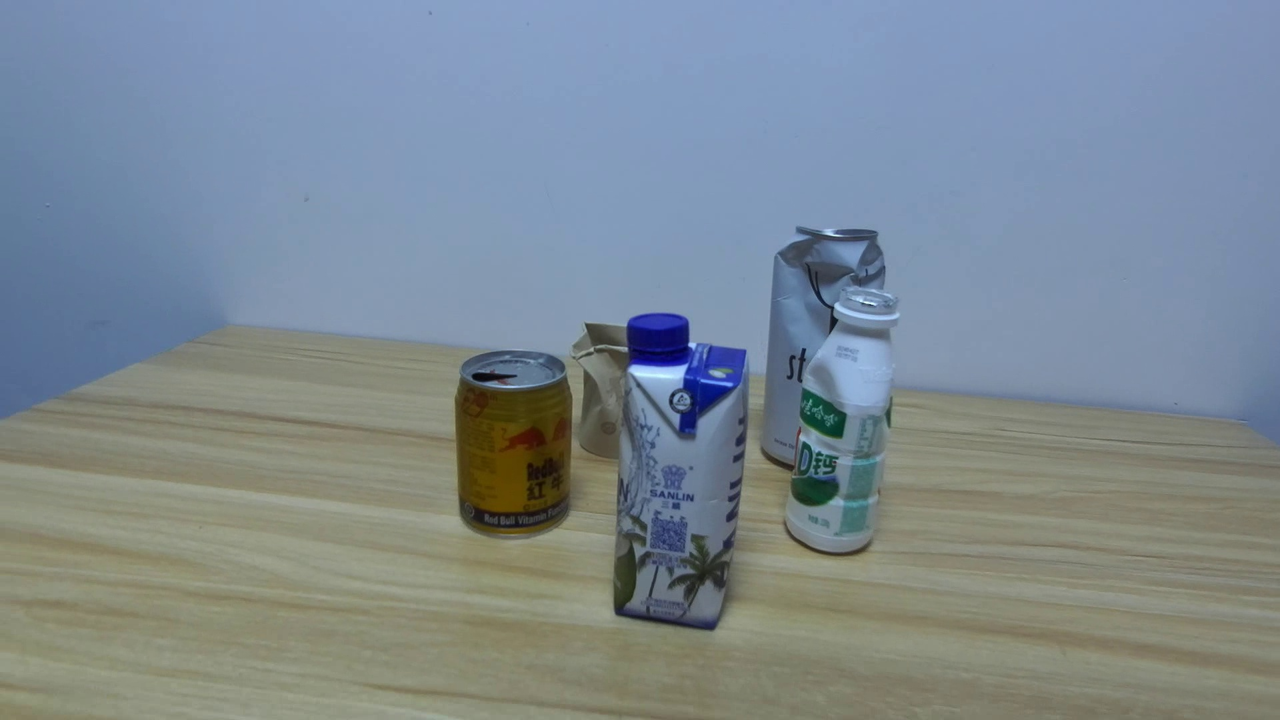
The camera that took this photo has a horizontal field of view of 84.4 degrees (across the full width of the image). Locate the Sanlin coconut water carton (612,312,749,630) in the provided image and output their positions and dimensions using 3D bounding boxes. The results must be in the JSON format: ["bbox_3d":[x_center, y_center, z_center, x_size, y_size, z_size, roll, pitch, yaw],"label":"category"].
[{"bbox_3d":[0.020,0.052,0.342,0.060,0.144,0.060,8,19,8],"label":"Sanlin coconut water carton"}]

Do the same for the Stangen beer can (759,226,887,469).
[{"bbox_3d":[0.125,-0.008,0.487,0.065,0.166,0.066,18,27,35],"label":"Stangen beer can"}]

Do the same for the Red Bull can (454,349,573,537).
[{"bbox_3d":[-0.074,0.048,0.413,0.067,0.093,0.067,4,20,-1],"label":"Red Bull can"}]

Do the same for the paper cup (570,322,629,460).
[{"bbox_3d":[-0.020,0.025,0.513,0.066,0.083,0.058,10,28,14],"label":"paper cup"}]

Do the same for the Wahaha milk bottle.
[{"bbox_3d":[0.117,0.034,0.393,0.055,0.149,0.055,4,20,-1],"label":"Wahaha milk bottle"}]
